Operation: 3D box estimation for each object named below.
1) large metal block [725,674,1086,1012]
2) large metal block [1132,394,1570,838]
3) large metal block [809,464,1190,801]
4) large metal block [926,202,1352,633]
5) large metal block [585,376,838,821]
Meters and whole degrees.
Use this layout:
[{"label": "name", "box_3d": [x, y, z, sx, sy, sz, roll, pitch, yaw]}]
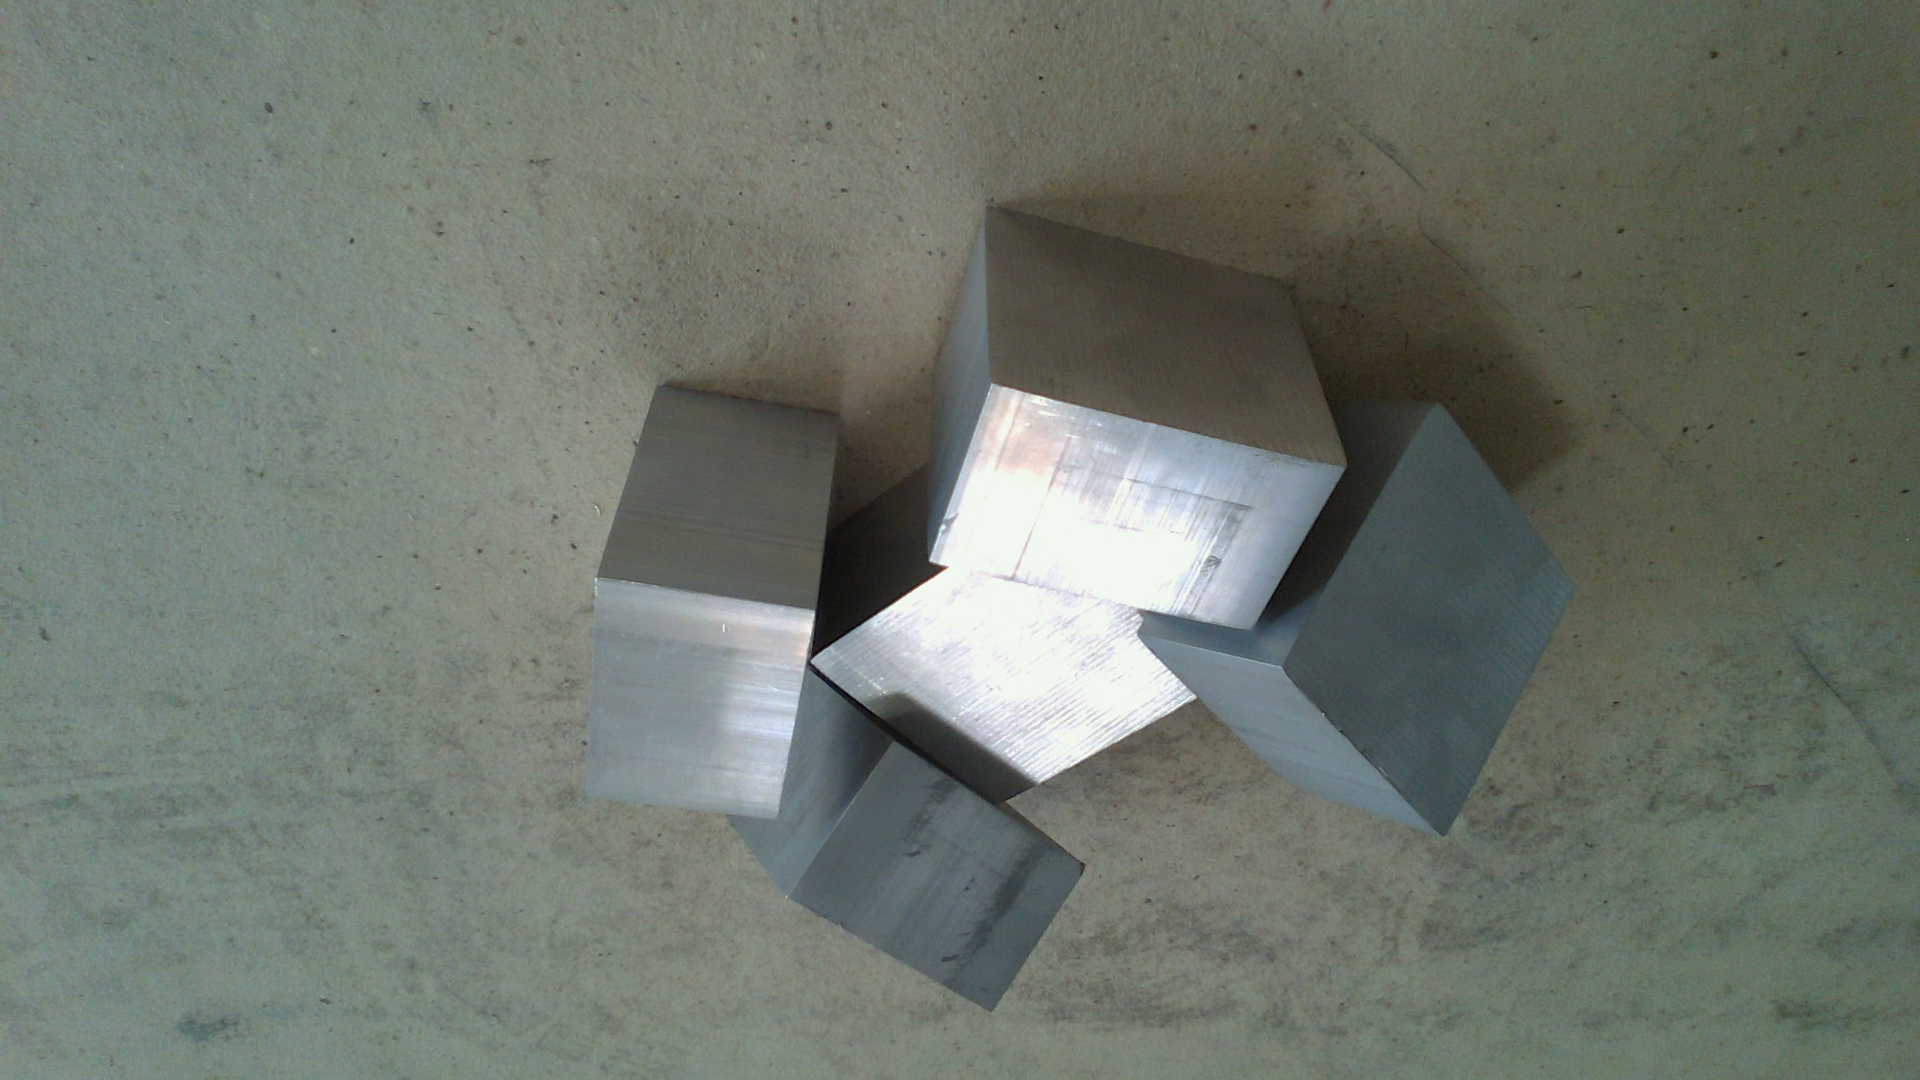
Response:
[{"label": "large metal block", "box_3d": [-0.022, 0.088, 0.421, 0.080, 0.080, 0.050, 38, 84, -27]}, {"label": "large metal block", "box_3d": [0.105, 0.018, 0.363, 0.080, 0.080, 0.050, 43, 162, -30]}, {"label": "large metal block", "box_3d": [0.015, 0.019, 0.388, 0.080, 0.050, 0.080, -33, 124, 25]}, {"label": "large metal block", "box_3d": [0.038, -0.031, 0.330, 0.080, 0.080, 0.050, 12, 129, -10]}, {"label": "large metal block", "box_3d": [-0.066, 0.016, 0.369, 0.050, 0.080, 0.080, 9, 130, -8]}]
